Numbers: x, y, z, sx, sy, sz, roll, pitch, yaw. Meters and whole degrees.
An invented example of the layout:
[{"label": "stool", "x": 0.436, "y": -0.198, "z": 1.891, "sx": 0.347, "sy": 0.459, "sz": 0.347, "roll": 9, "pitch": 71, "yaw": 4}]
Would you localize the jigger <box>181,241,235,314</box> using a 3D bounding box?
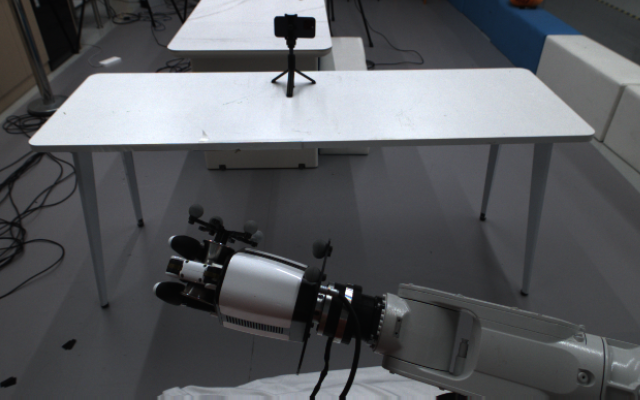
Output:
[{"label": "jigger", "x": -0.127, "y": 0.085, "z": 0.571, "sx": 0.043, "sy": 0.043, "sz": 0.071, "roll": 12, "pitch": 70, "yaw": 14}]
